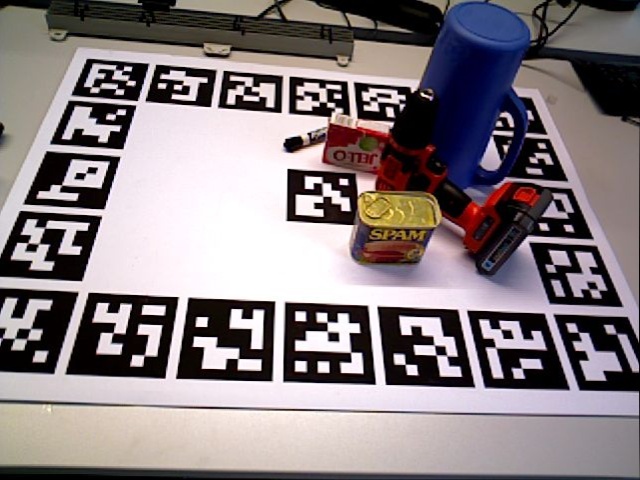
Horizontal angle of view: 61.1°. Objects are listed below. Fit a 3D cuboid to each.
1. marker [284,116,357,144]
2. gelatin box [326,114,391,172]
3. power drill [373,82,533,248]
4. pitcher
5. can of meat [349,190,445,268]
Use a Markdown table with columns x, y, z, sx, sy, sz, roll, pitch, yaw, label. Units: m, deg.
| x | y | z | sx | sy | sz | roll | pitch | yaw | label |
| --- | --- | --- | --- | --- | --- | --- | --- | --- | --- |
| 0.001 | -0.168 | 0.821 | 0.119 | 0.020 | 0.019 | -19 | 58 | -20 | marker |
| 0.059 | -0.136 | 0.775 | 0.089 | 0.075 | 0.029 | 14 | 55 | 0 | gelatin box |
| 0.163 | -0.086 | 0.681 | 0.187 | 0.189 | 0.056 | 35 | 58 | 10 | power drill |
| 0.212 | -0.178 | 0.729 | 0.189 | 0.247 | 0.130 | 27 | 56 | 19 | pitcher |
| 0.091 | -0.011 | 0.674 | 0.101 | 0.086 | 0.057 | 4 | 50 | -7 | can of meat |
